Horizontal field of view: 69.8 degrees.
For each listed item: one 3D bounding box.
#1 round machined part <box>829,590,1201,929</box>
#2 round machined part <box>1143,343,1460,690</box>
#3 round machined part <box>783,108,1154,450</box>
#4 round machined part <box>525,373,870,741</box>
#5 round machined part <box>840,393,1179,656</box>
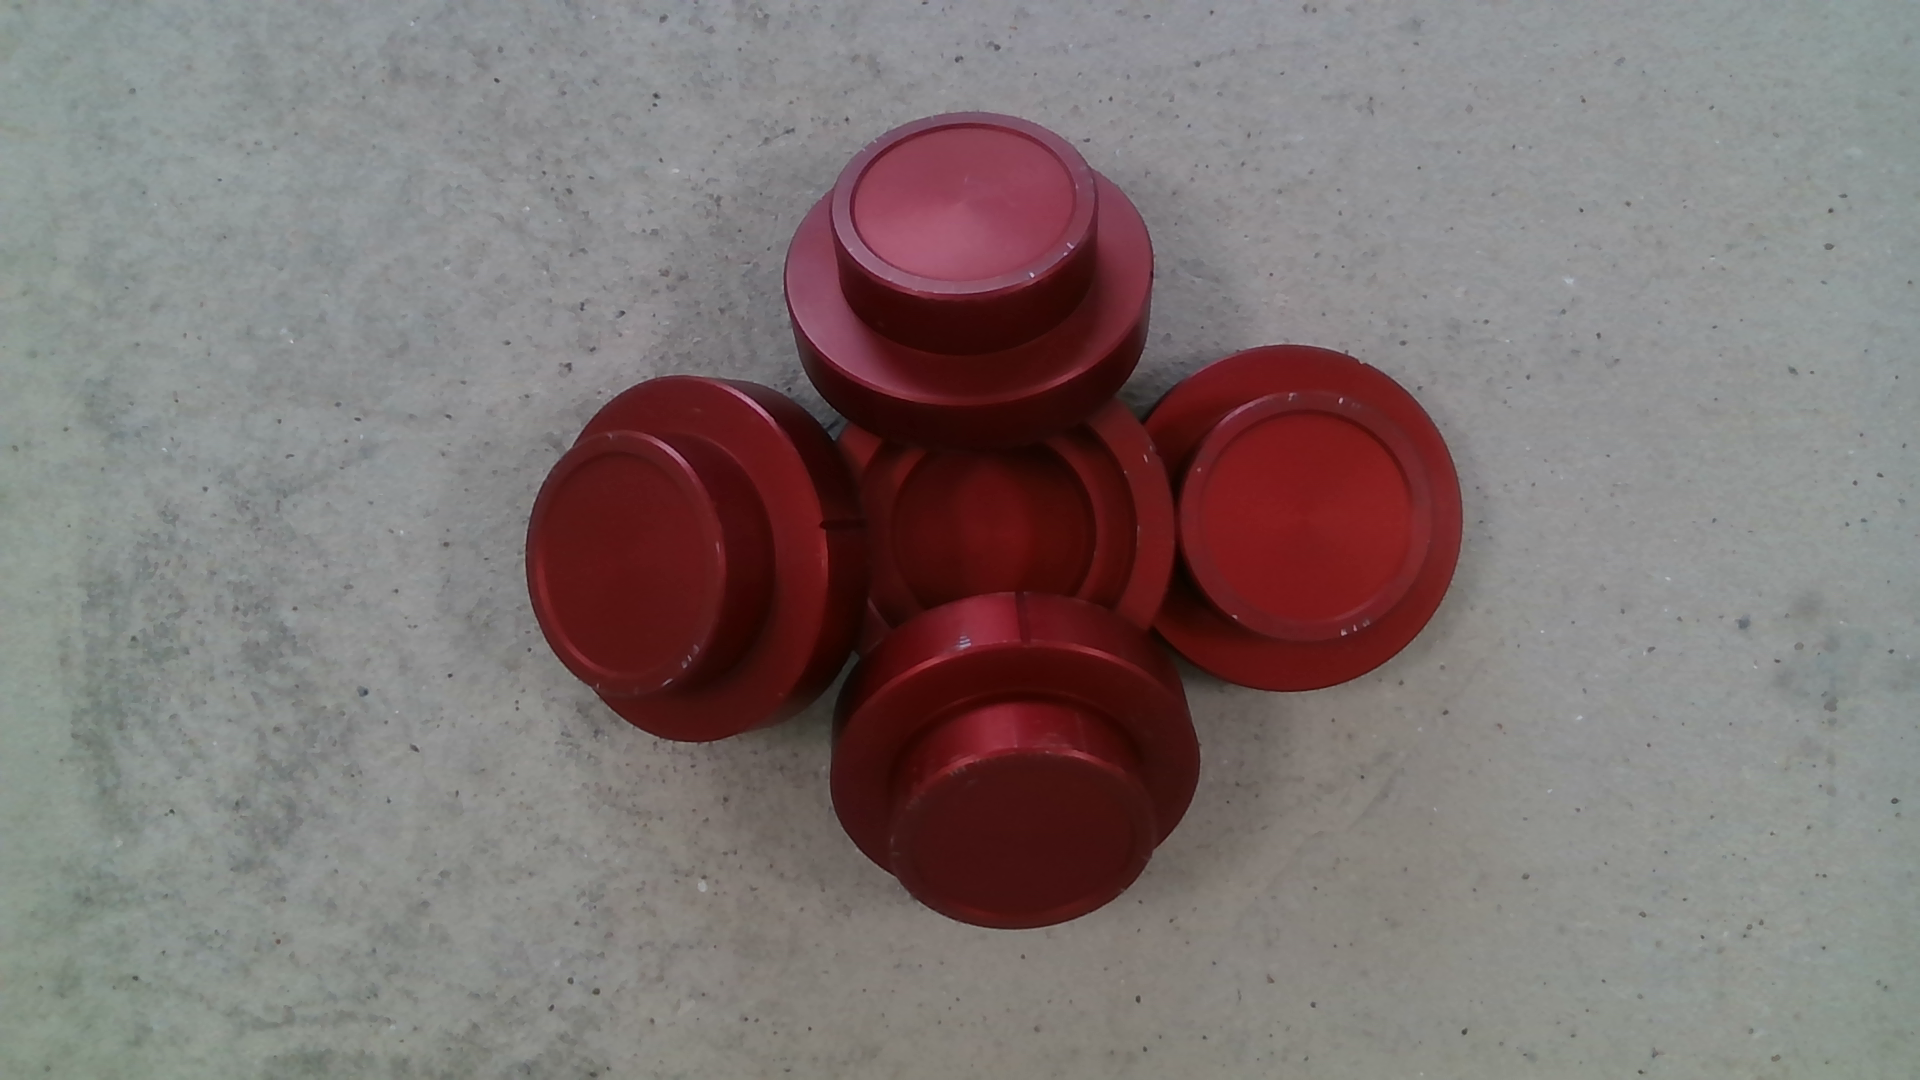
[{"bbox_3d":[0.015,0.064,0.362,0.098,0.042,0.098,-2,126,-3],"label":"round machined part"},{"bbox_3d":[0.092,-0.007,0.387,0.098,0.042,0.098,0,90,-2],"label":"round machined part"},{"bbox_3d":[0.002,-0.075,0.363,0.098,0.042,0.098,-2,57,3],"label":"round machined part"},{"bbox_3d":[-0.076,0.005,0.366,0.098,0.042,0.098,2,93,30],"label":"round machined part"},{"bbox_3d":[0.009,-0.002,0.387,0.098,0.042,0.098,0,88,-1],"label":"round machined part"}]
